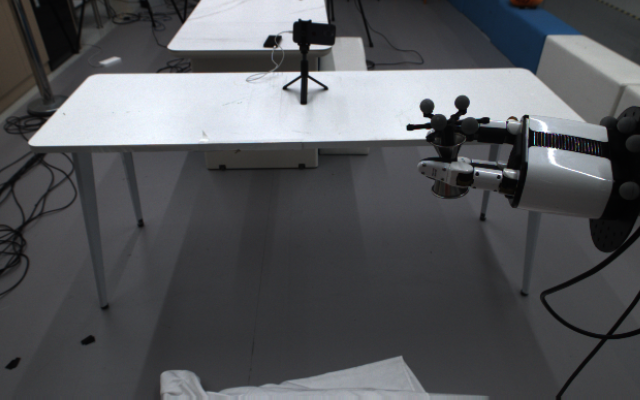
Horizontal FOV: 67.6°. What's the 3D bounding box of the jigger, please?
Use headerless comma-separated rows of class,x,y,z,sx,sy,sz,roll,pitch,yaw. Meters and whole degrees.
jigger,0.151,-0.044,0.571,0.043,0.071,0.043,-9,31,5
